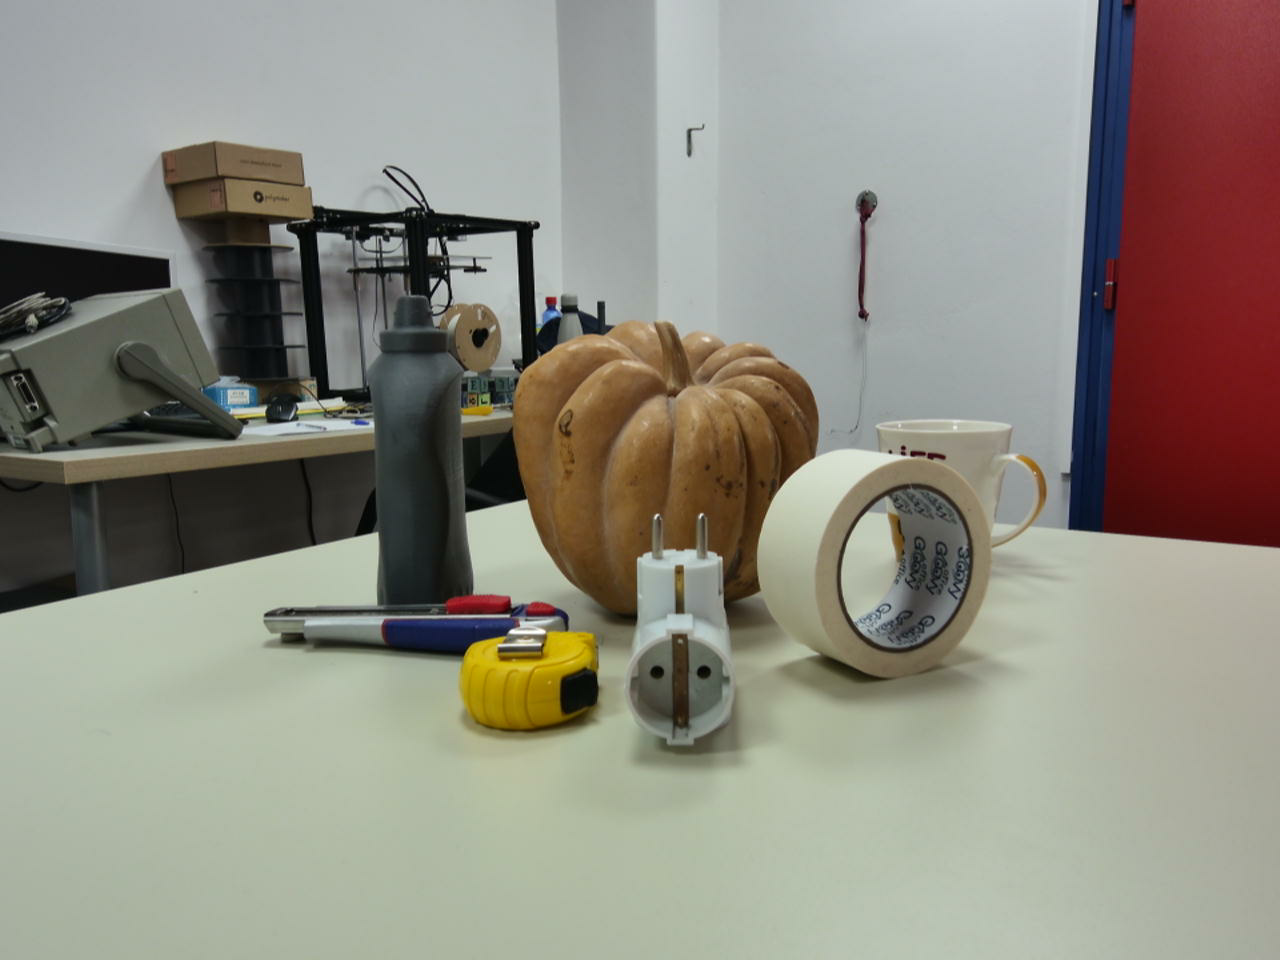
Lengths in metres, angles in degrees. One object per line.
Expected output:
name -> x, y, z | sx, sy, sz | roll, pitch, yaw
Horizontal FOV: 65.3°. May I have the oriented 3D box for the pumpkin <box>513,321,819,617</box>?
pumpkin -> 0.015, -0.009, 0.619 | 0.199, 0.177, 0.198 | -1, 7, 0
